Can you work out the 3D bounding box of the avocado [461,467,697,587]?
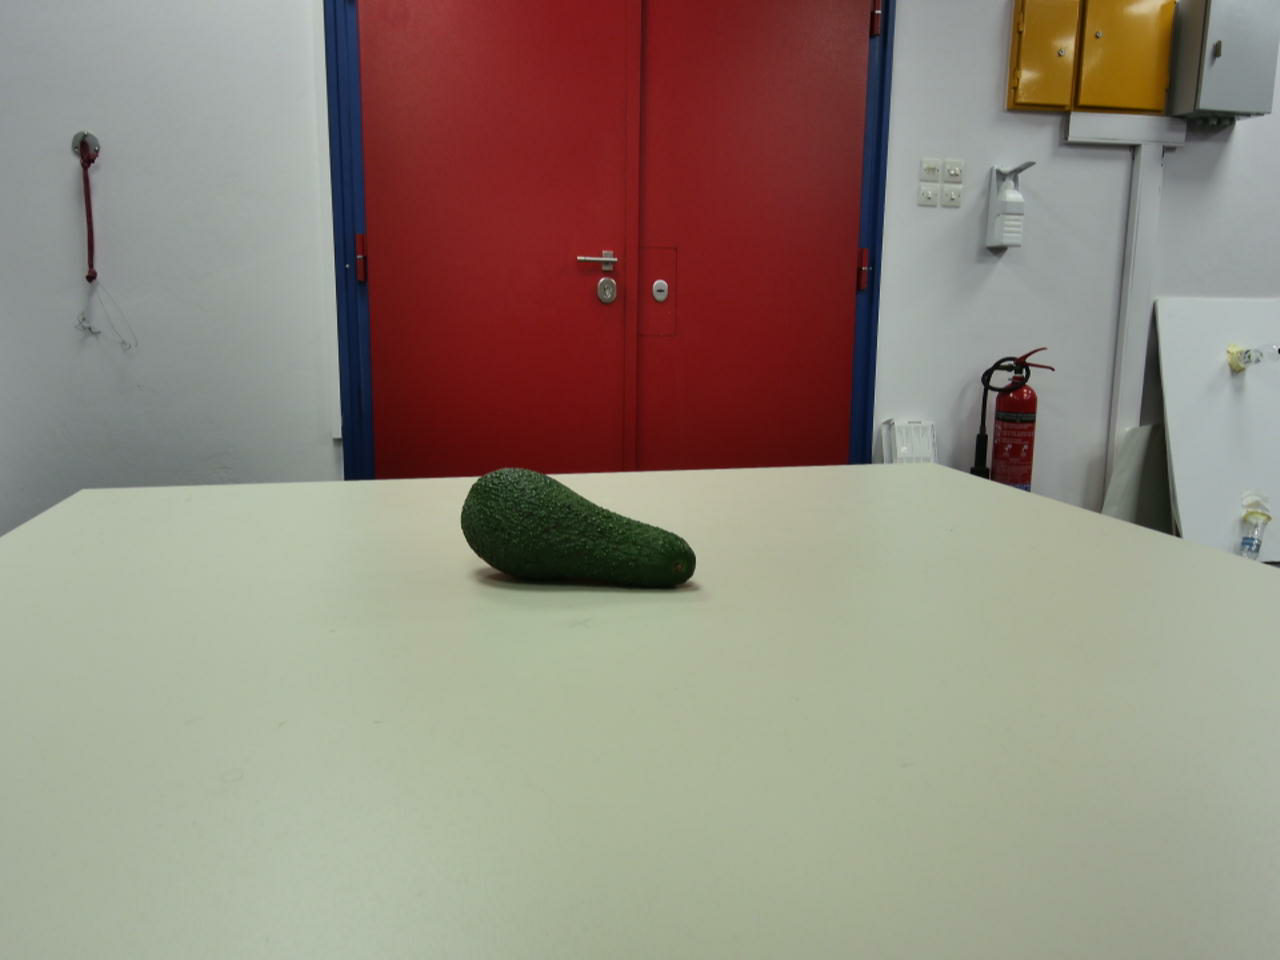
[{"bbox_3d":[-0.036,0.026,0.588,0.141,0.067,0.063,0,8,2],"label":"avocado"}]
